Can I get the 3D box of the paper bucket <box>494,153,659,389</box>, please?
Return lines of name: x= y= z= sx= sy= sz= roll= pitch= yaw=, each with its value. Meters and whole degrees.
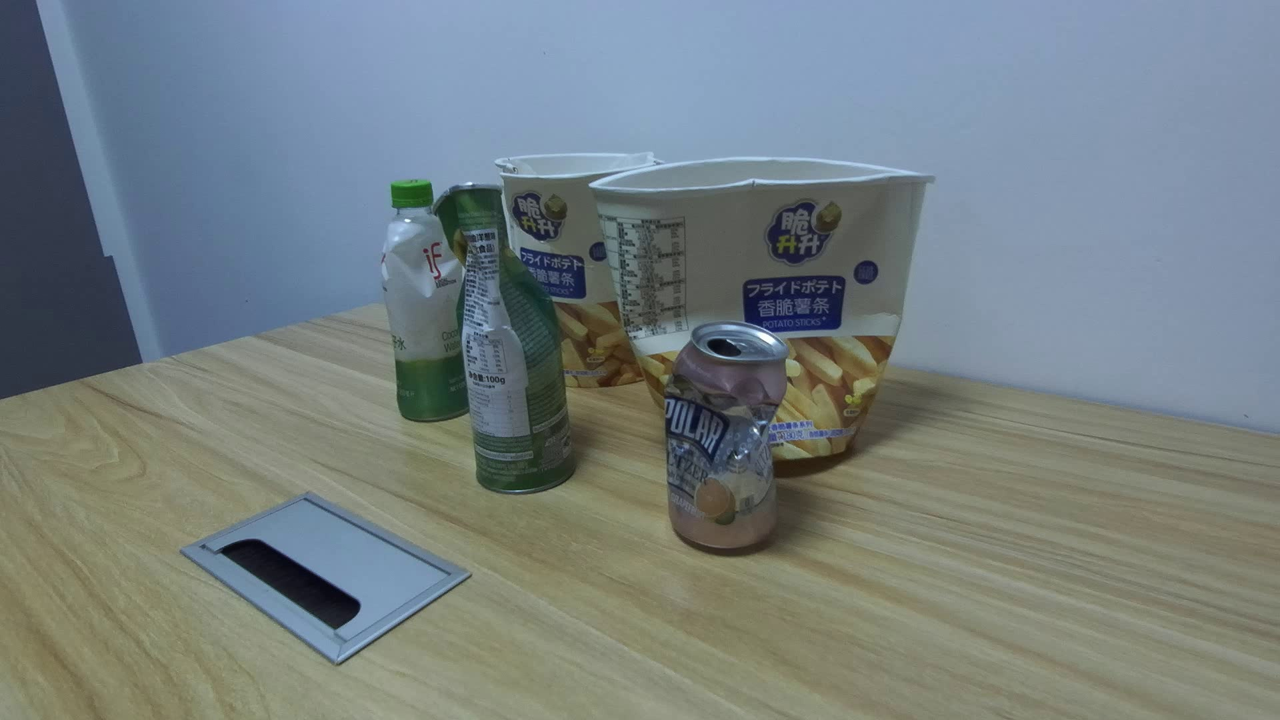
paper bucket: x=-0.048 y=-0.090 z=0.665 sx=0.146 sy=0.197 sz=0.202 roll=-7 pitch=21 yaw=-11

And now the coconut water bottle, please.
coconut water bottle: x=-0.173 y=-0.046 z=0.572 sx=0.067 sy=0.187 sz=0.067 roll=-1 pitch=18 yaw=1

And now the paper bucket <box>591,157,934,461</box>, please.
paper bucket: x=0.092 y=-0.038 z=0.510 sx=0.219 sy=0.199 sz=0.147 roll=-18 pitch=26 yaw=-37

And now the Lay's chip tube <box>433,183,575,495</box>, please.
Lay's chip tube: x=-0.092 y=-0.015 z=0.470 sx=0.071 sy=0.199 sz=0.079 roll=1 pitch=19 yaw=26
